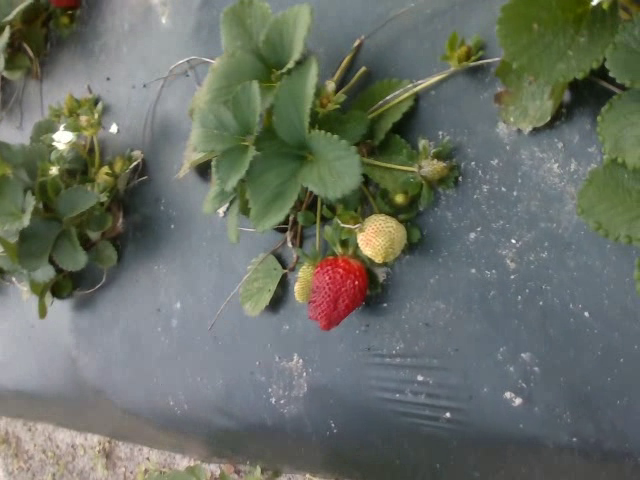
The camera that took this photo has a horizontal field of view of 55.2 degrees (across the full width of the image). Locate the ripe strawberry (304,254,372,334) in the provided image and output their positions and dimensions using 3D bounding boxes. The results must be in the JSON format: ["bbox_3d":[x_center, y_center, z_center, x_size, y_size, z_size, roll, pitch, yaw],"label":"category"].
[{"bbox_3d":[0.012,0.039,0.416,0.046,0.059,0.045,-6,-37,47],"label":"ripe strawberry"}]
